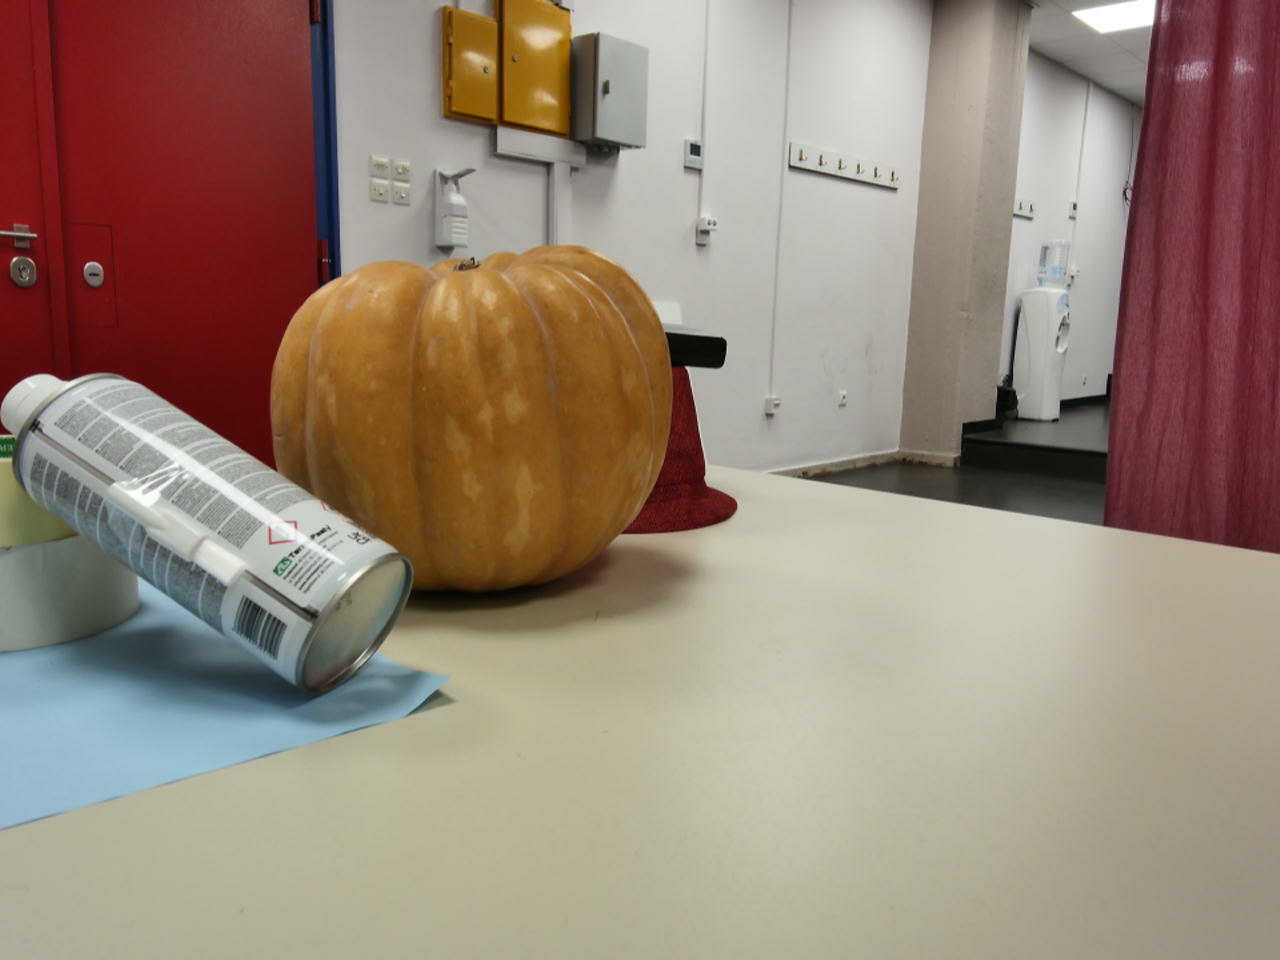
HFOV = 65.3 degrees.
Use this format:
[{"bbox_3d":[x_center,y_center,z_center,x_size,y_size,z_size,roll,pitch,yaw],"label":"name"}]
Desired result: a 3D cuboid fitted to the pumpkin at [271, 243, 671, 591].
[{"bbox_3d":[-0.092,-0.038,0.572,0.230,0.194,0.230,0,8,0],"label":"pumpkin"}]
